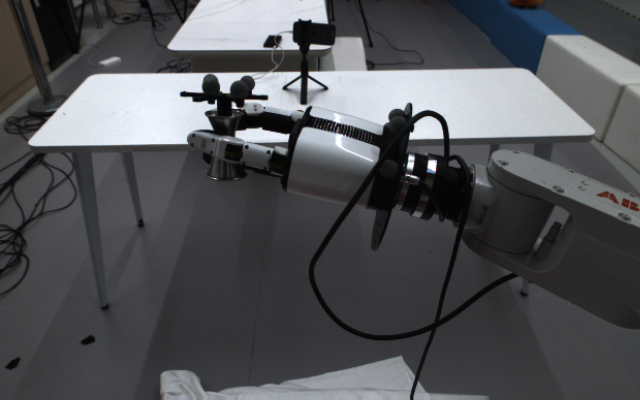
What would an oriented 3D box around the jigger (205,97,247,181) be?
[{"bbox_3d":[-0.100,-0.060,0.520,0.043,0.071,0.043,2,20,-1],"label":"jigger"}]
